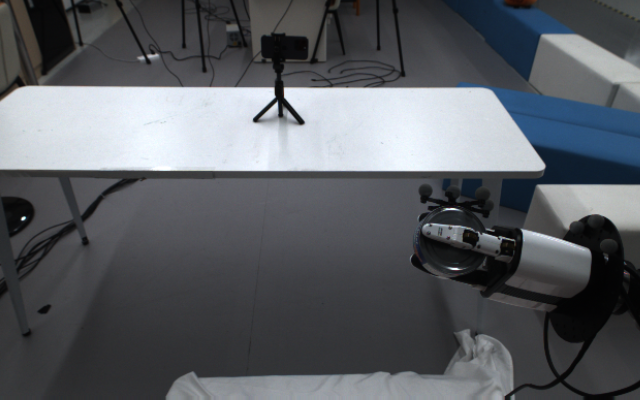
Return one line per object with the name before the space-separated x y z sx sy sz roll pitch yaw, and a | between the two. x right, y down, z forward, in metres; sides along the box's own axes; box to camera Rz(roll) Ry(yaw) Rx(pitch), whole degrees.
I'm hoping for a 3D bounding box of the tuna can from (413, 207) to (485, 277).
tuna can | 0.162 0.047 0.597 0.085 0.034 0.085 1 74 -4
